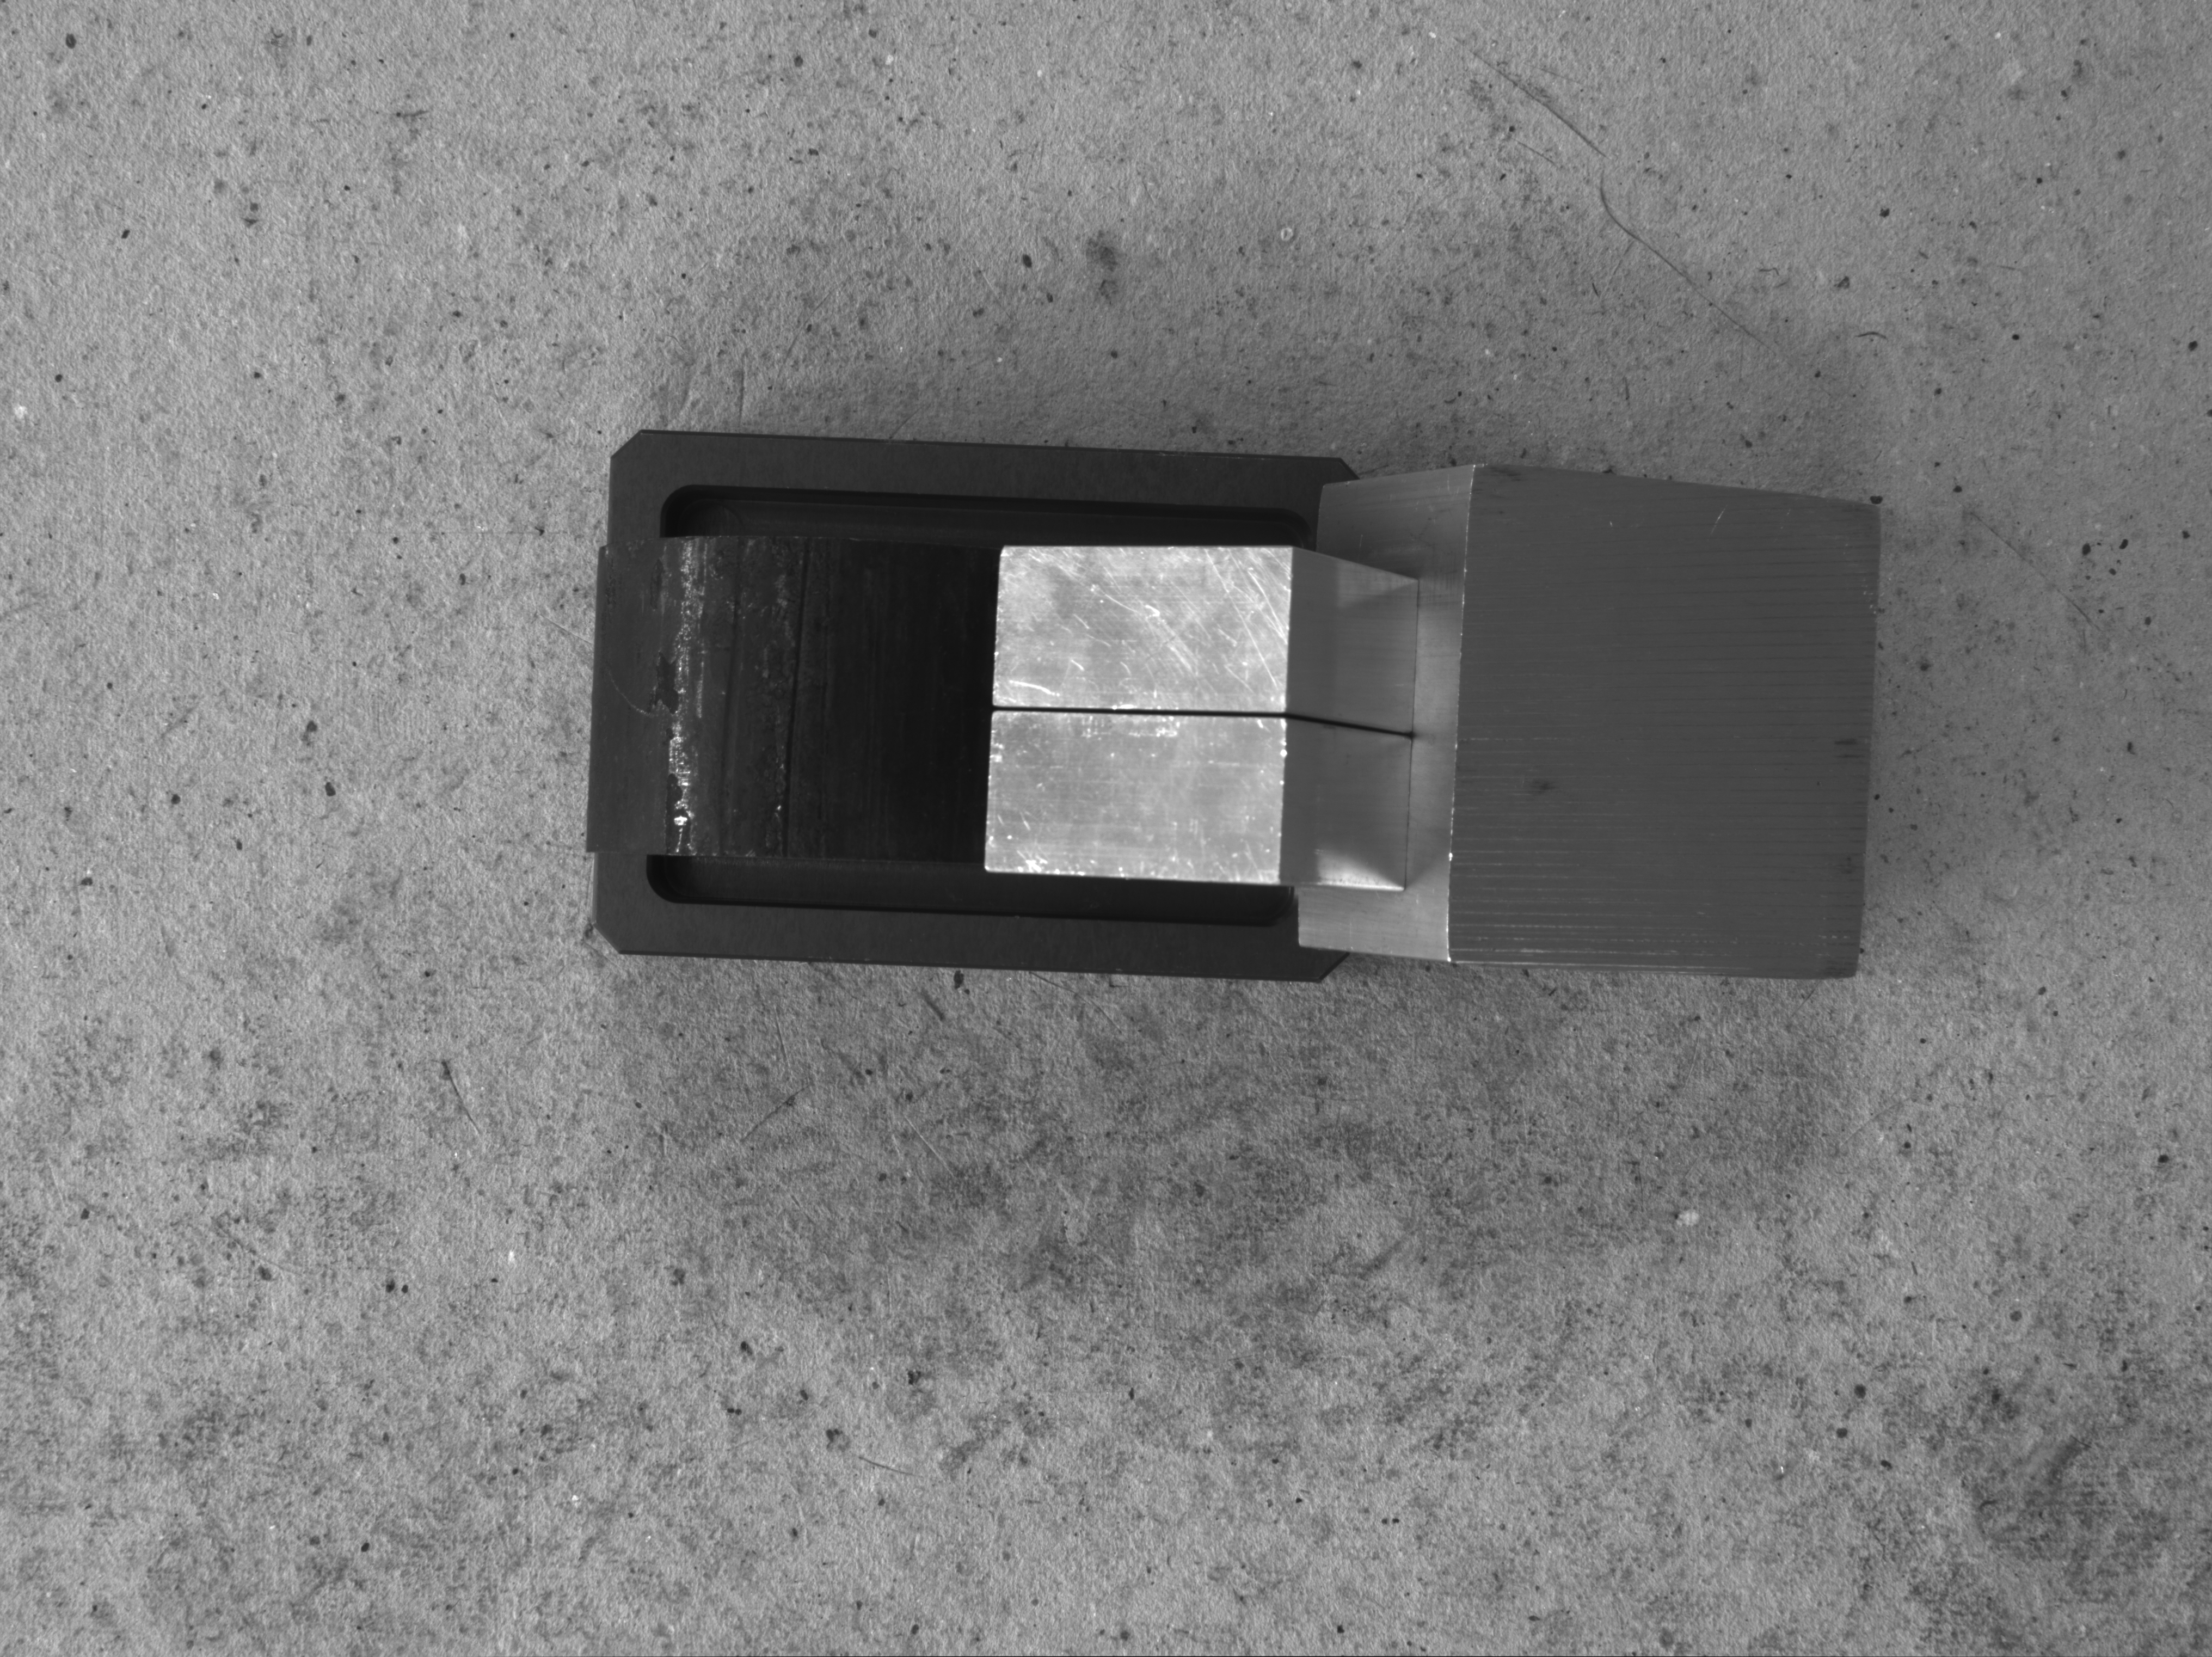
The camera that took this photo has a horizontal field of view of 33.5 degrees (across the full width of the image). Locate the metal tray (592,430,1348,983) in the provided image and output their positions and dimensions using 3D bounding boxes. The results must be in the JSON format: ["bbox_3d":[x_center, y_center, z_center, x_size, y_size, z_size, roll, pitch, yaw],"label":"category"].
[{"bbox_3d":[-0.021,-0.021,0.643,0.130,0.030,0.090,2,90,0],"label":"metal tray"}]

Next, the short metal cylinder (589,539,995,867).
[{"bbox_3d":[-0.044,-0.019,0.606,0.080,0.080,0.050,1,90,0],"label":"short metal cylinder"}]

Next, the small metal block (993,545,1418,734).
[{"bbox_3d":[0.016,-0.029,0.581,0.050,0.050,0.025,2,88,26],"label":"small metal block"}]

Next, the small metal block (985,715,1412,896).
[{"bbox_3d":[0.015,-0.003,0.581,0.050,0.050,0.025,2,88,26],"label":"small metal block"}]

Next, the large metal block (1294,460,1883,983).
[{"bbox_3d":[0.081,-0.017,0.619,0.080,0.050,0.080,3,90,-26],"label":"large metal block"}]
